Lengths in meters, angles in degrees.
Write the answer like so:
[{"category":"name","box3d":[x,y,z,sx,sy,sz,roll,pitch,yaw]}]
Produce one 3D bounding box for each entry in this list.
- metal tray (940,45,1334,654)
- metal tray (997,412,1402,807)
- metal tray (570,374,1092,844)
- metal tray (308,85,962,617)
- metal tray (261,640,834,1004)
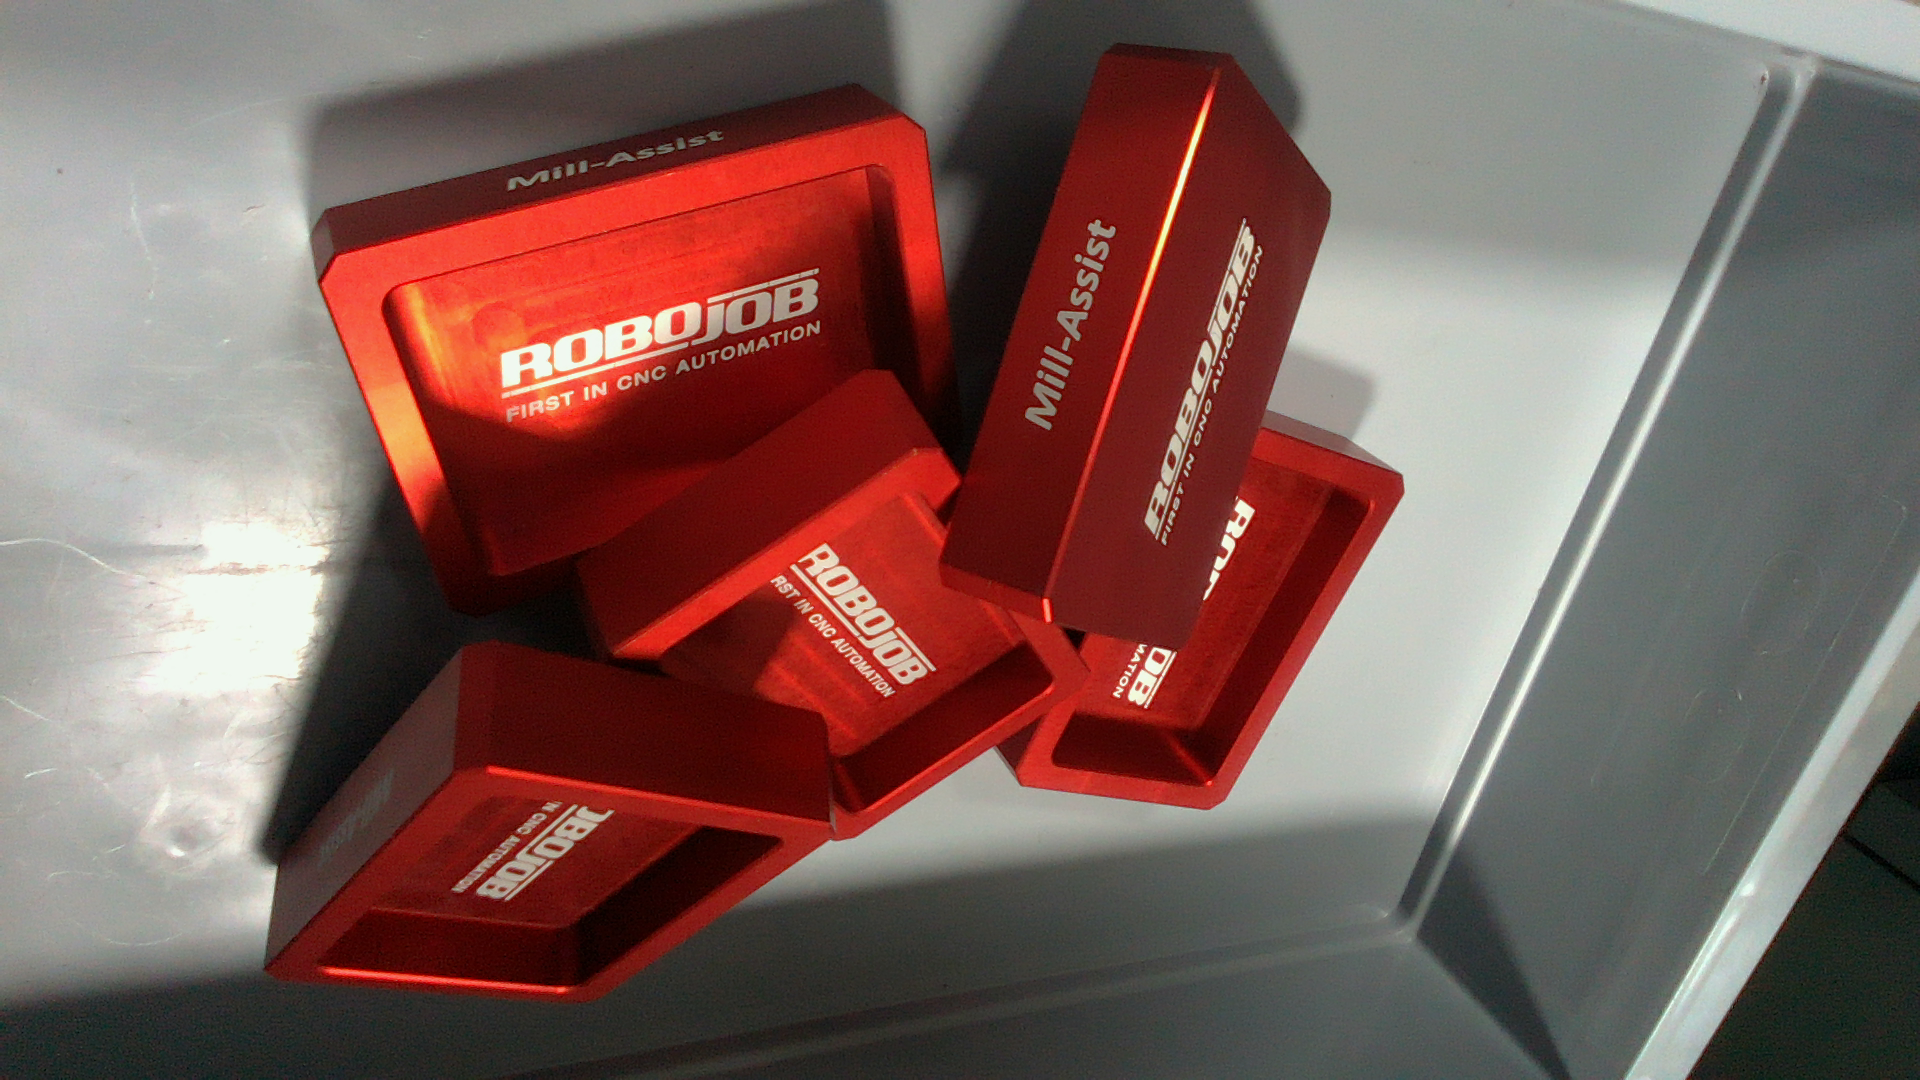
[{"category":"metal tray","box3d":[0.048,-0.041,0.341,0.090,0.030,0.130,18,91,-59]},{"category":"metal tray","box3d":[0.072,0.021,0.436,0.090,0.030,0.130,13,112,-34]},{"category":"metal tray","box3d":[-0.026,0.025,0.358,0.090,0.030,0.130,-33,144,2]},{"category":"metal tray","box3d":[-0.068,-0.045,0.320,0.130,0.030,0.090,-19,126,-17]},{"category":"metal tray","box3d":[-0.103,0.076,0.338,0.090,0.030,0.130,18,137,-35]}]
